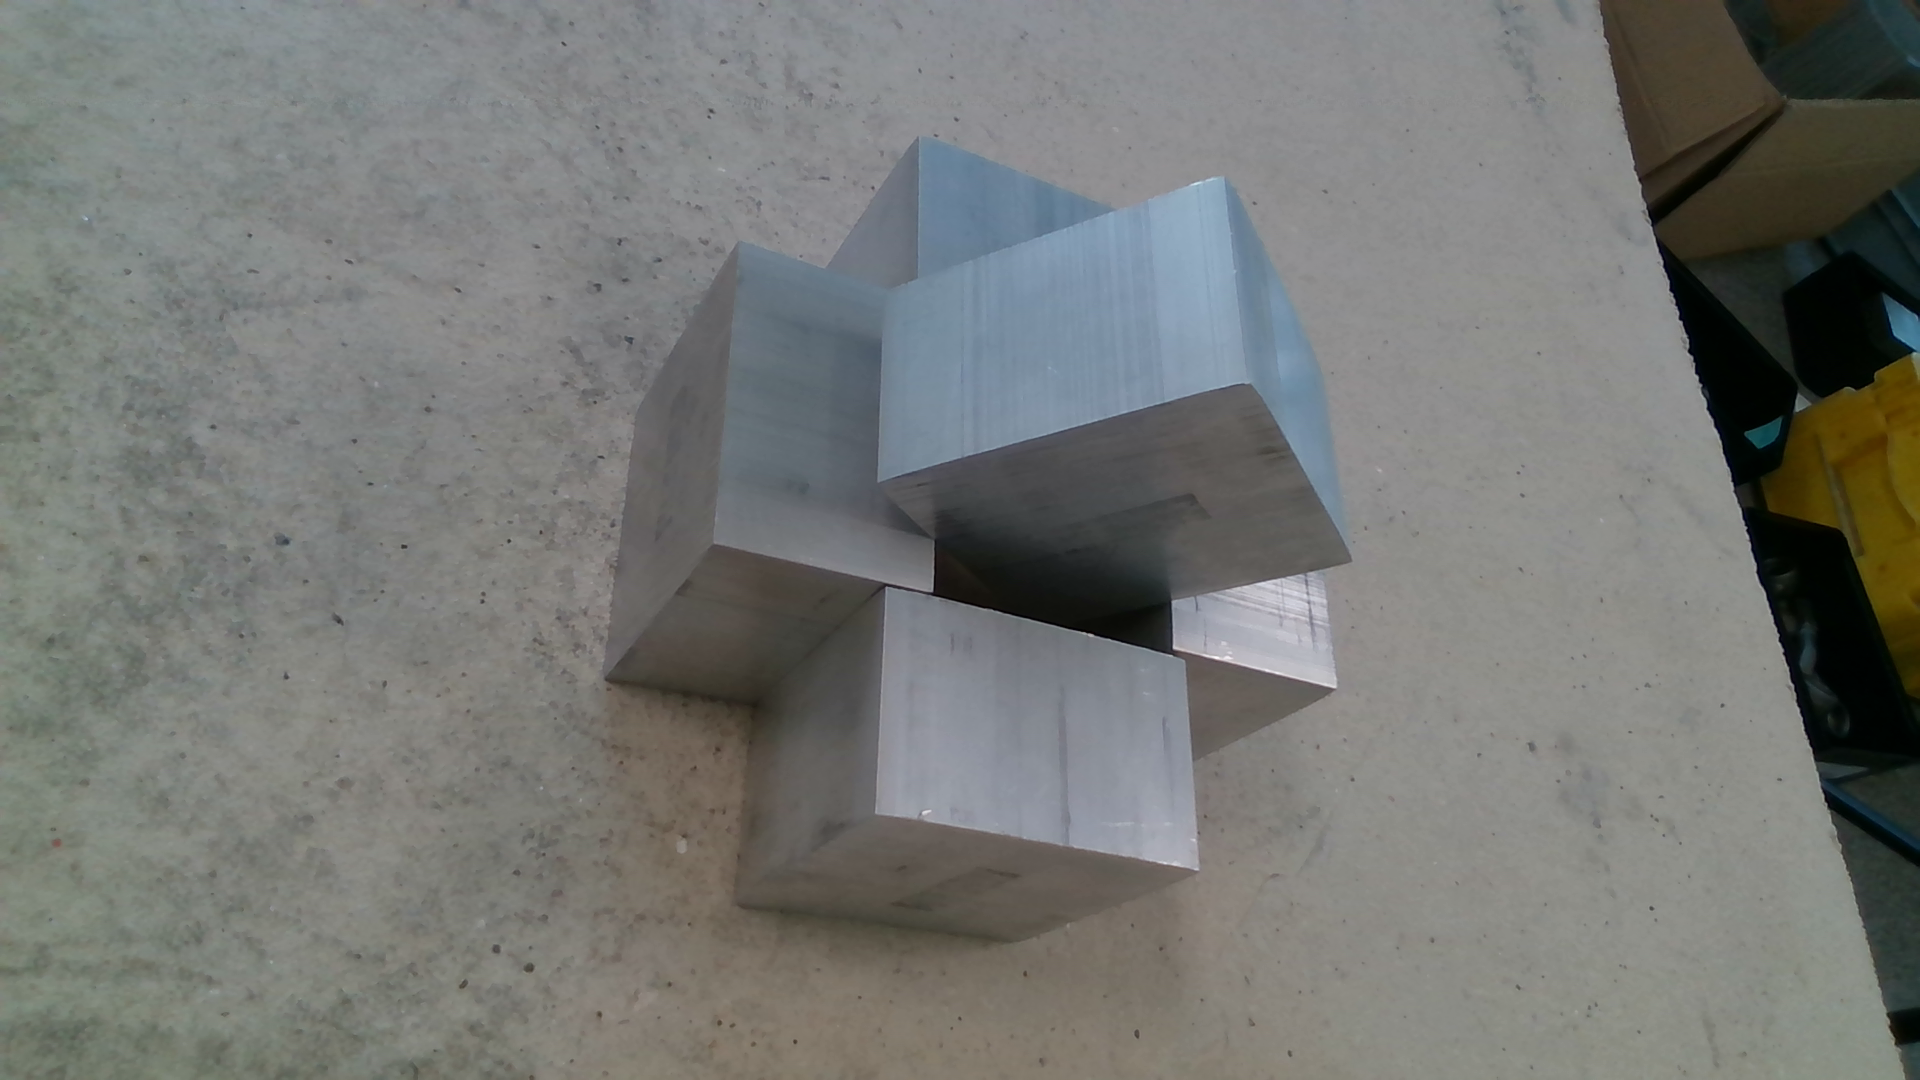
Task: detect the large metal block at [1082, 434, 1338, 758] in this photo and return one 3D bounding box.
[{"bbox_3d":[0.054,0.014,0.385,0.050,0.080,0.080,15,58,-24],"label":"large metal block"}]

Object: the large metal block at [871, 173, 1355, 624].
[{"bbox_3d":[0.036,-0.025,0.309,0.080,0.080,0.050,43,40,-51],"label":"large metal block"}]

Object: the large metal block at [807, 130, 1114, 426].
[{"bbox_3d":[0.006,-0.058,0.391,0.080,0.080,0.050,14,58,-25],"label":"large metal block"}]

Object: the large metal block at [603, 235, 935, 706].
[{"bbox_3d":[-0.047,-0.012,0.336,0.050,0.080,0.080,14,59,-25],"label":"large metal block"}]

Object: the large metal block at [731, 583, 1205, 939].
[{"bbox_3d":[0.000,0.057,0.327,0.080,0.080,0.050,15,58,-24],"label":"large metal block"}]
